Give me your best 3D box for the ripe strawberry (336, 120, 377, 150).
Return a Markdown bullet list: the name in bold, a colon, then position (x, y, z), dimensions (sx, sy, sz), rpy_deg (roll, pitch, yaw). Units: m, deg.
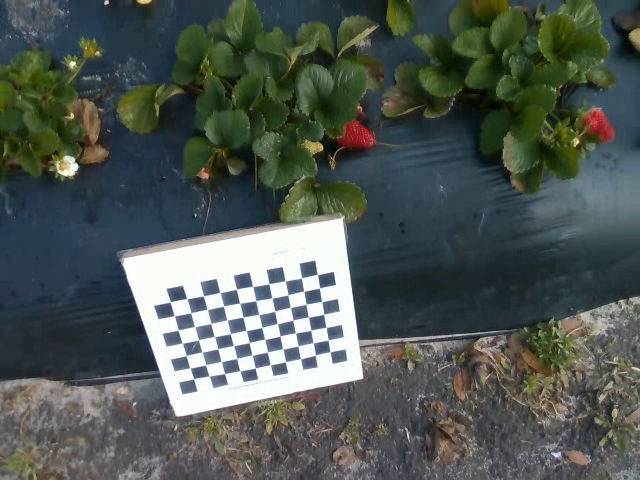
- **ripe strawberry**: position (0.046, -0.129, 0.728), dimensions (0.064, 0.051, 0.043), rpy_deg (19, 21, -16)
